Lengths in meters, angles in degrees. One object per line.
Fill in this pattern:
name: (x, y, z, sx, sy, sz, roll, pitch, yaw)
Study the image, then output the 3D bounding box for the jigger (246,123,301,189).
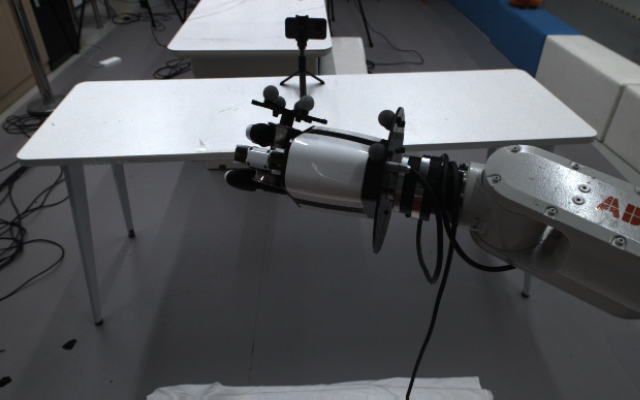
jigger: (-0.048, -0.051, 0.553, 0.043, 0.071, 0.043, 17, 2, -1)
